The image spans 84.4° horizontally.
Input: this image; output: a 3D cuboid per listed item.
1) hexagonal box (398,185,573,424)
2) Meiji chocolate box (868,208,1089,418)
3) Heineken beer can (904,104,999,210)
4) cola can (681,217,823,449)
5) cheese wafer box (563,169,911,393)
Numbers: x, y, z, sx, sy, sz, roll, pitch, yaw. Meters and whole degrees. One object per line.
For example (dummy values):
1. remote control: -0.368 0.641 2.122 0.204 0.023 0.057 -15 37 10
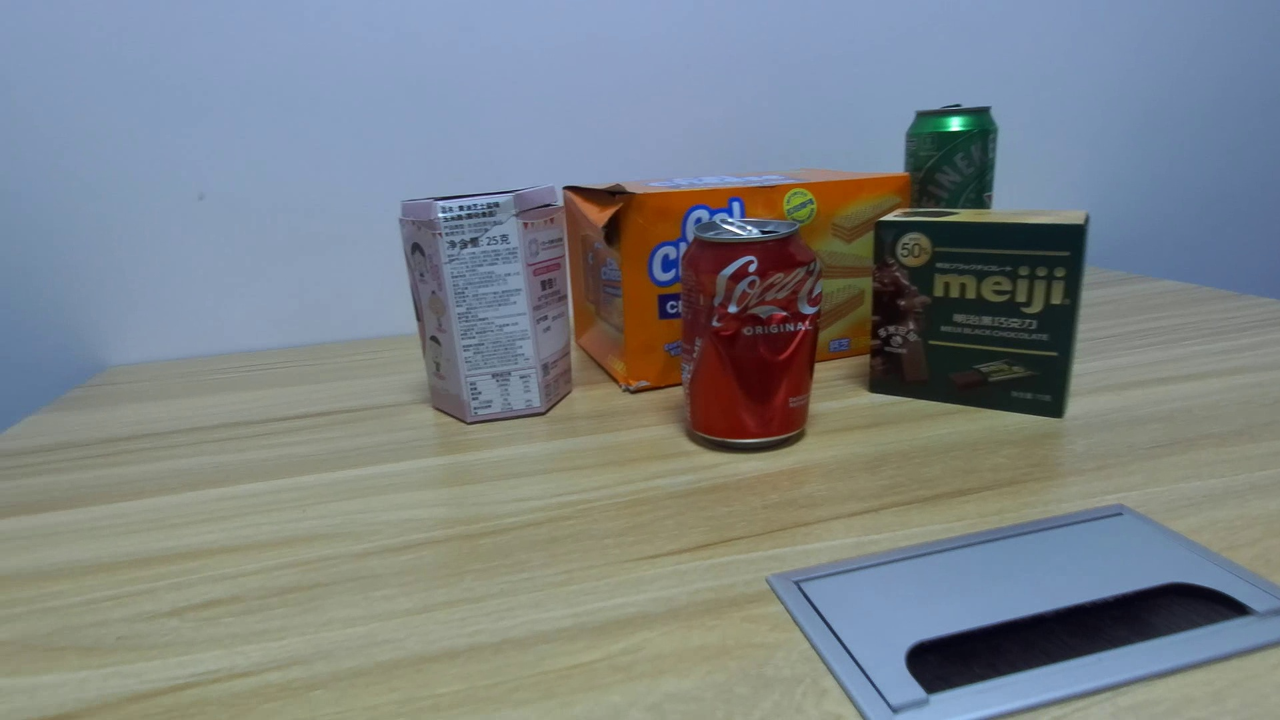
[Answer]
1. hexagonal box: -0.092 -0.037 0.446 0.085 0.135 0.092 3 18 21
2. Meiji chocolate box: 0.197 -0.031 0.418 0.109 0.109 0.056 8 21 31
3. Heineken beer can: 0.243 -0.110 0.563 0.067 0.169 0.067 -2 15 1
4. cola can: 0.056 -0.015 0.375 0.067 0.117 0.065 -12 18 -27
5. cheese wafer box: 0.070 -0.072 0.535 0.228 0.137 0.149 -8 17 -16
